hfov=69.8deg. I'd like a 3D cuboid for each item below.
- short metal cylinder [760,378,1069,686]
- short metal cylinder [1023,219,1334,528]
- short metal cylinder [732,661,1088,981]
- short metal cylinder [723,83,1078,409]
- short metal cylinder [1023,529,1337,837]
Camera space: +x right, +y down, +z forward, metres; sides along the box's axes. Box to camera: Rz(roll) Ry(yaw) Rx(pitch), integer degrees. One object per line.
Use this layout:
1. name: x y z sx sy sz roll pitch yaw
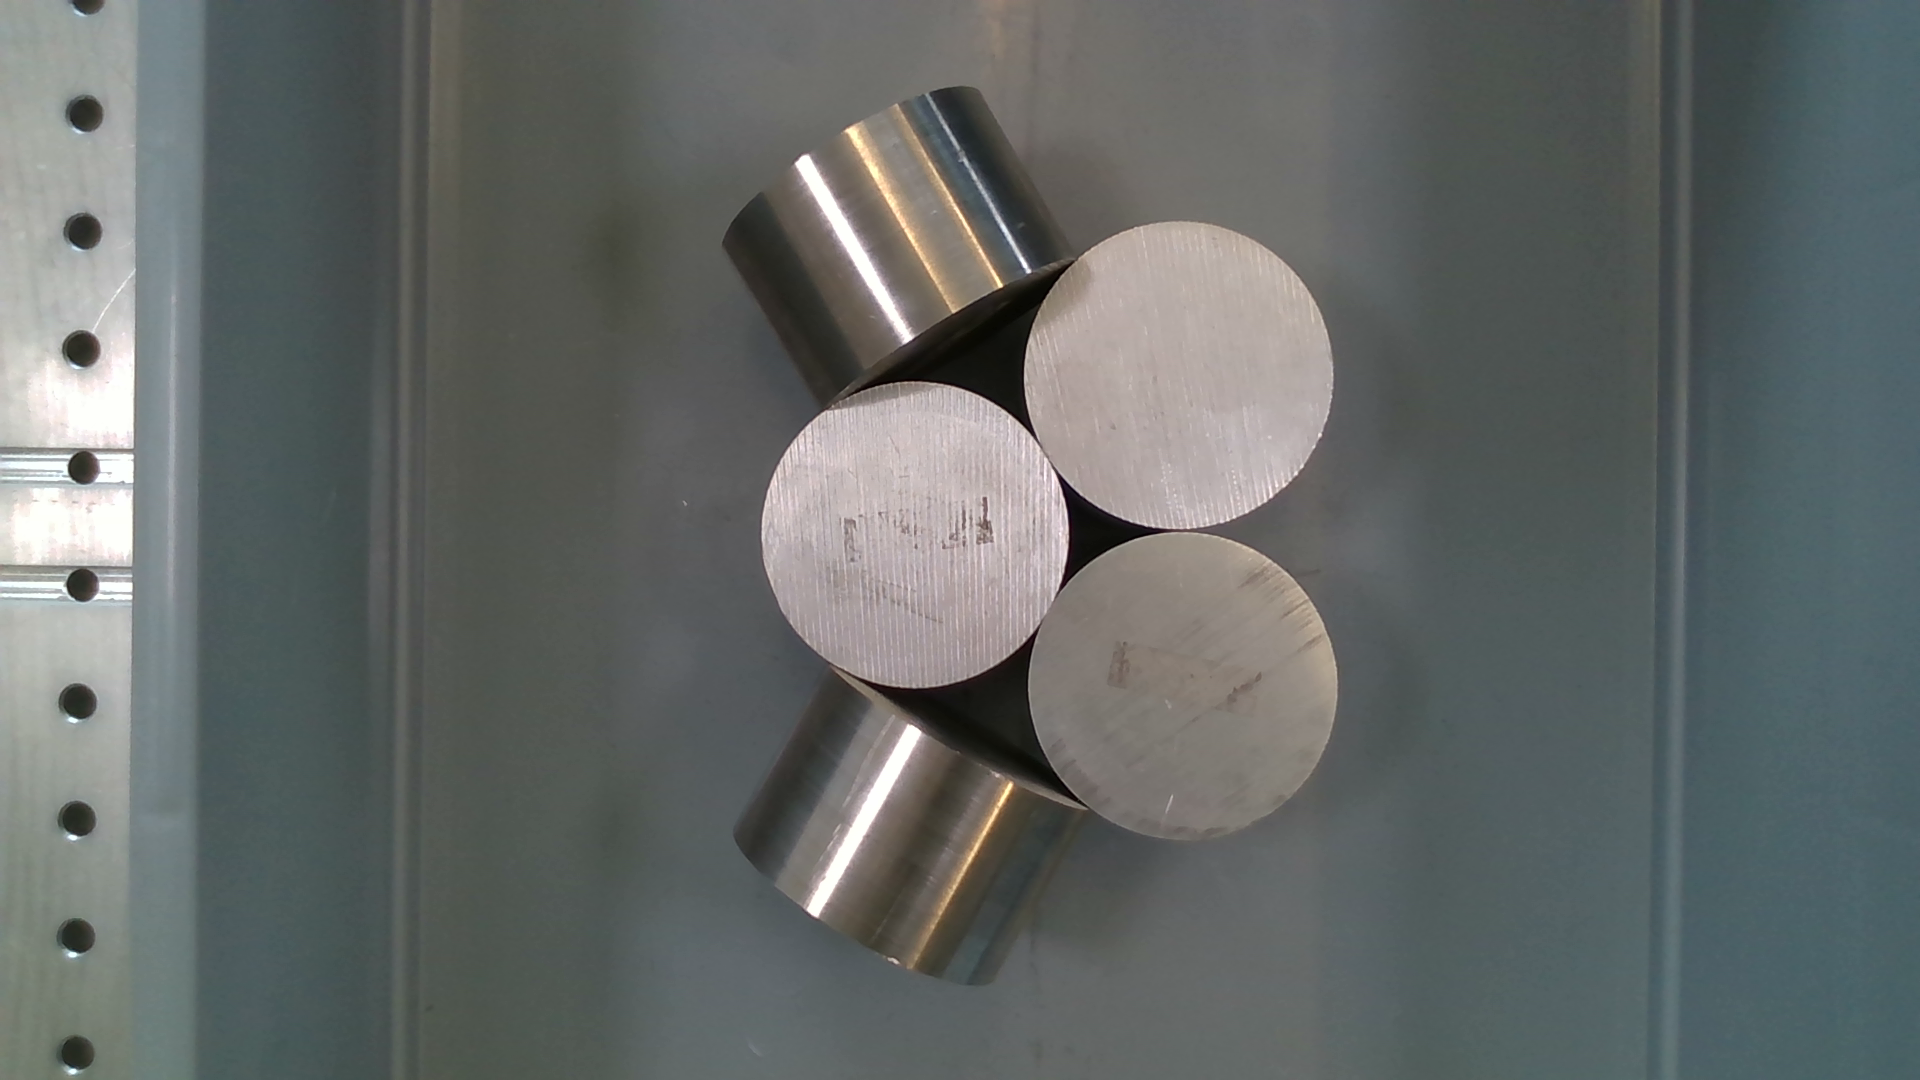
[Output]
1. short metal cylinder: -0.012 -0.002 0.382 0.080 0.050 0.080 0 90 0
2. short metal cylinder: 0.057 -0.043 0.382 0.080 0.050 0.080 0 90 0
3. short metal cylinder: -0.013 0.073 0.367 0.080 0.080 0.050 29 90 0
4. short metal cylinder: -0.016 -0.076 0.367 0.080 0.080 0.050 -30 90 0
5. short metal cylinder: 0.058 0.037 0.382 0.080 0.050 0.080 0 90 0
